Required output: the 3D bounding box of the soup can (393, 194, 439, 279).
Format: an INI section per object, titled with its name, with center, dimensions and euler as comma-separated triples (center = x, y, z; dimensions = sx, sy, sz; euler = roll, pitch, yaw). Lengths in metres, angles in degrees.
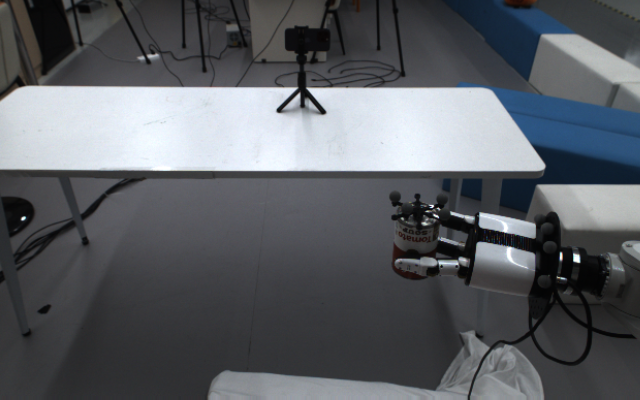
[soup can]
center = 0.148, 0.060, 0.740
dimensions = 0.067, 0.101, 0.067
euler = -2, 33, 1
